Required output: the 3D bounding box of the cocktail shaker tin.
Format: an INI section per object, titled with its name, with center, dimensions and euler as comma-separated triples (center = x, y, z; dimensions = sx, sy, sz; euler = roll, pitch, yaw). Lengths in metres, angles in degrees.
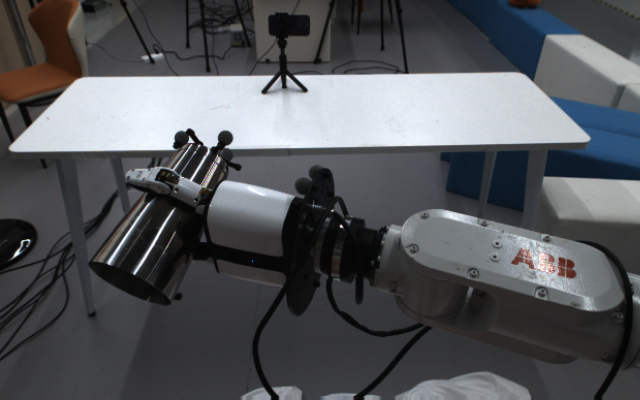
[cocktail shaker tin]
center = -0.169, 0.020, 0.541
dimensions = 0.093, 0.093, 0.170
euler = 13, 58, 15
